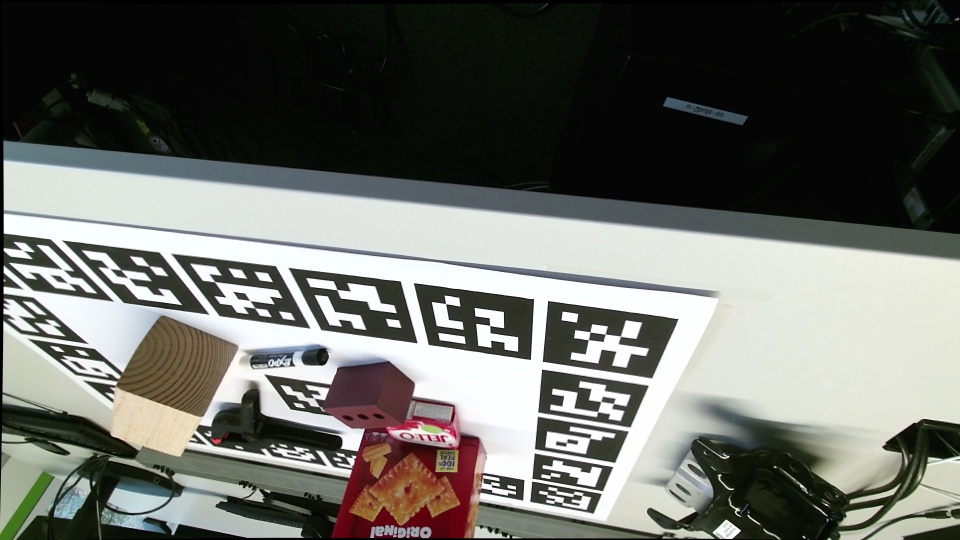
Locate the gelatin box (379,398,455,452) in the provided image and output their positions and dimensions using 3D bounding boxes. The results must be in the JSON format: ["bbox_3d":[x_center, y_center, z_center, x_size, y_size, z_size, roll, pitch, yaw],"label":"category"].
[{"bbox_3d":[-0.077,0.187,0.649,0.089,0.030,0.073,5,137,9],"label":"gelatin box"}]

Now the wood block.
[{"bbox_3d":[-0.373,0.147,0.635,0.090,0.090,0.206,28,139,-20],"label":"wood block"}]

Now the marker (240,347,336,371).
[{"bbox_3d":[-0.209,0.098,0.585,0.121,0.019,0.020,-9,133,22],"label":"marker"}]

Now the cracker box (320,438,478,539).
[{"bbox_3d":[-0.105,0.325,0.660,0.165,0.212,0.072,5,139,12],"label":"cracker box"}]

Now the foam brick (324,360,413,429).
[{"bbox_3d":[-0.122,0.138,0.585,0.078,0.051,0.053,-12,131,26],"label":"foam brick"}]

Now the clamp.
[{"bbox_3d":[-0.326,0.236,0.756,0.203,0.036,0.166,-18,130,30],"label":"clamp"}]
